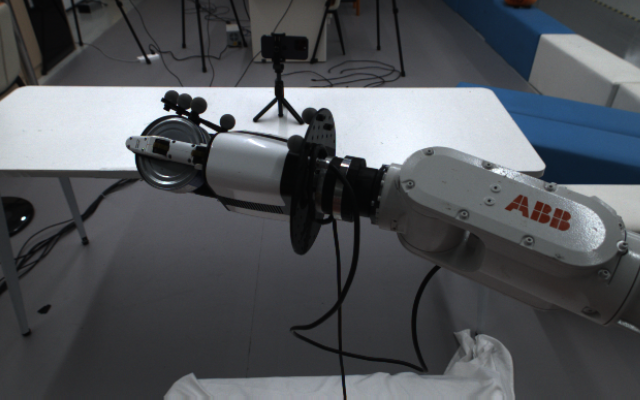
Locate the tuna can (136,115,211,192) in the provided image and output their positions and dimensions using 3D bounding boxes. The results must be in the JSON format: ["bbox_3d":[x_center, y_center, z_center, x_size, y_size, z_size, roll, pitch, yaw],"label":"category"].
[{"bbox_3d":[-0.162,-0.052,0.553,0.085,0.085,0.034,13,-6,16],"label":"tuna can"}]
